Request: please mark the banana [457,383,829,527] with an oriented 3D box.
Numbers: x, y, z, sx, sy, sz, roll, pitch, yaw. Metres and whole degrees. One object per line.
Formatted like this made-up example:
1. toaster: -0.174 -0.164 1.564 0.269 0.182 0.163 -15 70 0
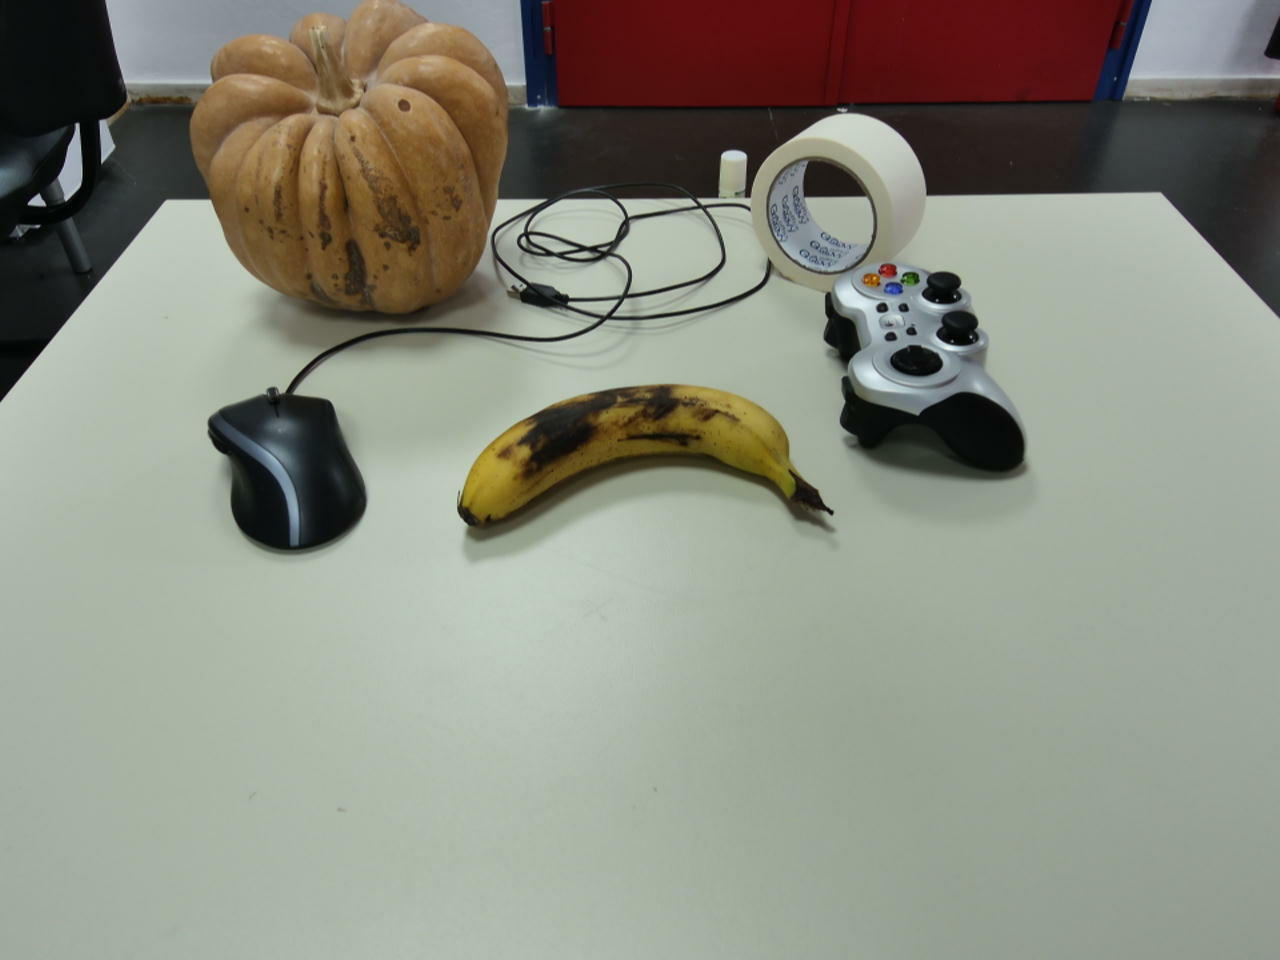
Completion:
1. banana: 0.000 -0.017 0.536 0.187 0.039 0.094 -1 39 -2
